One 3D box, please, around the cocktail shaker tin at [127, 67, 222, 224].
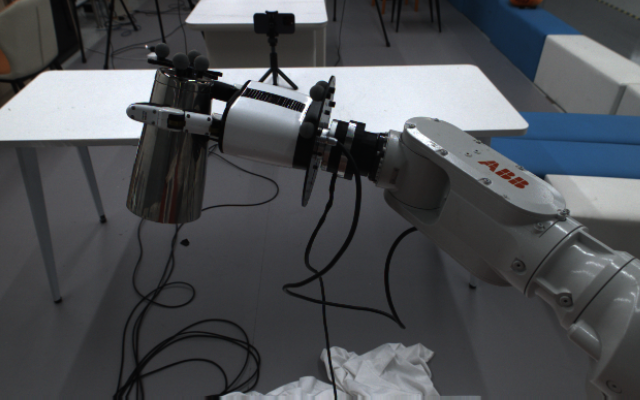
[{"bbox_3d":[-0.175,-0.069,0.591,0.093,0.170,0.093,14,19,-5],"label":"cocktail shaker tin"}]
